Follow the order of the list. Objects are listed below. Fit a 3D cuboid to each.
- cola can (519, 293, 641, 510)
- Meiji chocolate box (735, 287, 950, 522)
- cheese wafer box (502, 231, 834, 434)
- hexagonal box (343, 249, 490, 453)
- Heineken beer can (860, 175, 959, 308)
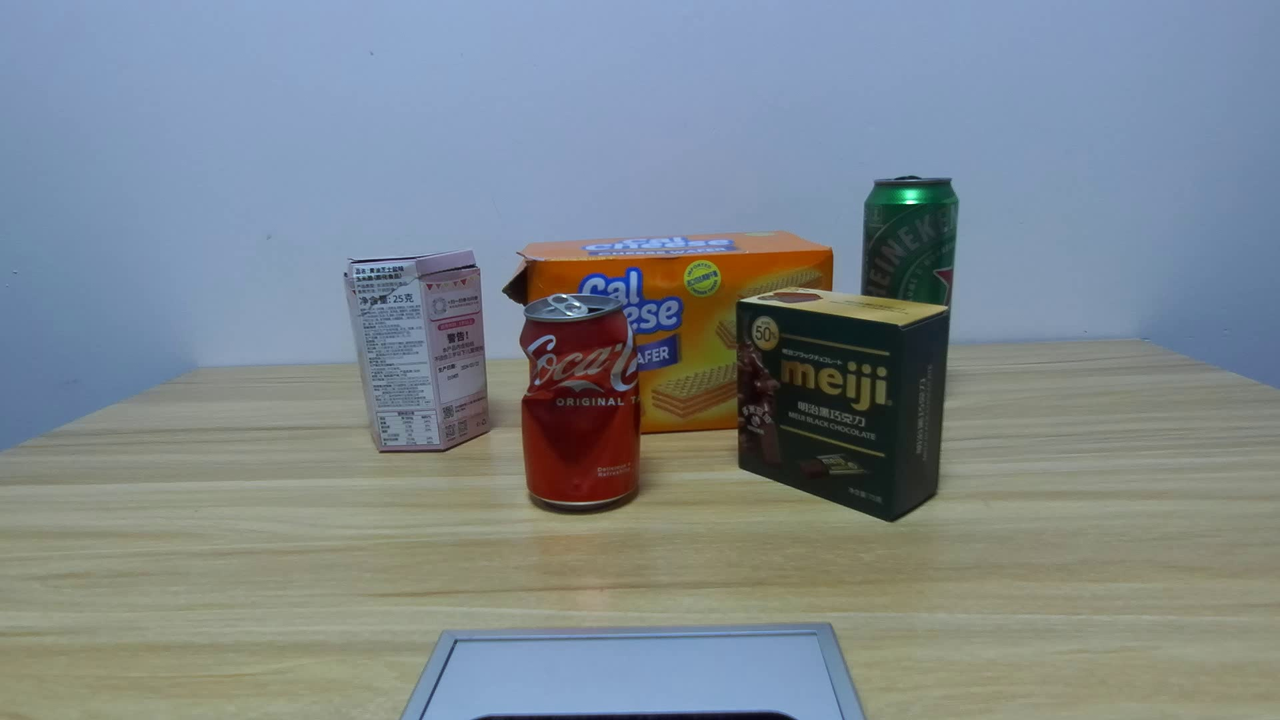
[{"bbox_3d":[-0.036,0.023,0.404,0.066,0.117,0.066,-6,17,-12],"label":"cola can"},{"bbox_3d":[0.112,0.020,0.406,0.056,0.109,0.109,-16,21,-39],"label":"Meiji chocolate box"},{"bbox_3d":[0.021,-0.030,0.555,0.227,0.137,0.149,-3,16,-3],"label":"cheese wafer box"},{"bbox_3d":[-0.159,-0.009,0.511,0.084,0.135,0.092,8,19,35],"label":"hexagonal box"},{"bbox_3d":[0.201,-0.049,0.536,0.067,0.169,0.067,-2,12,1],"label":"Heineken beer can"}]
